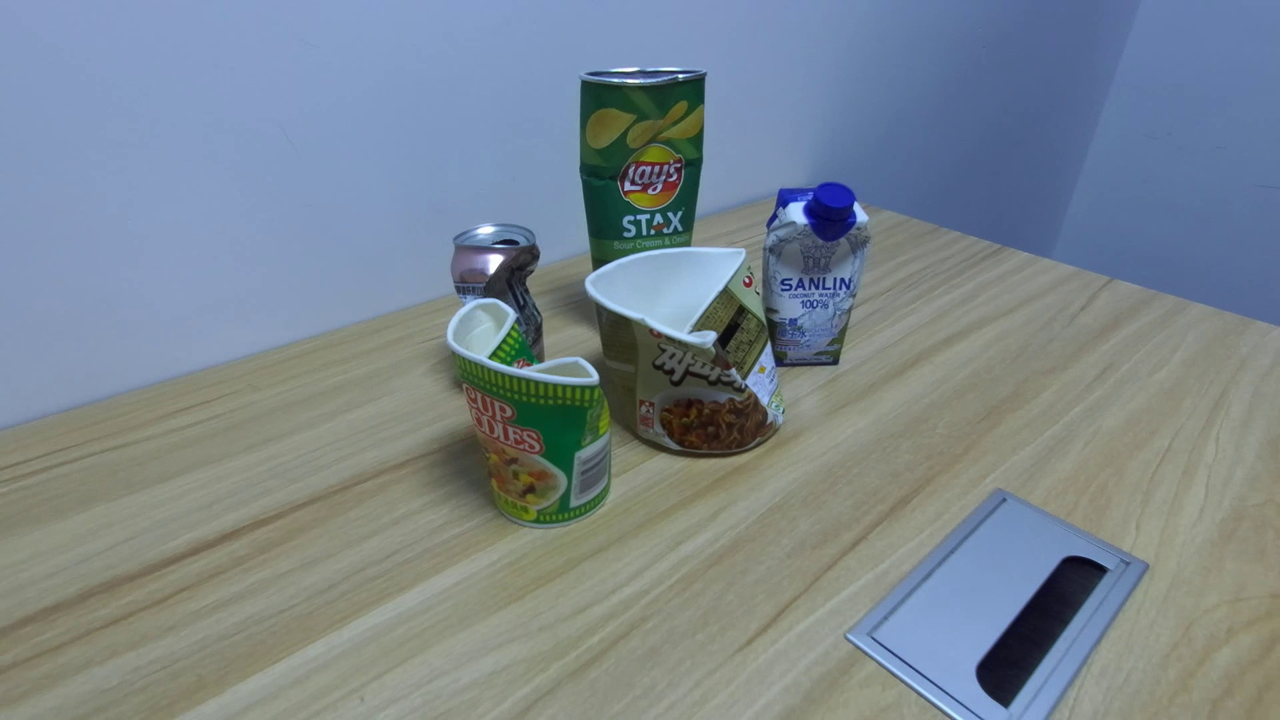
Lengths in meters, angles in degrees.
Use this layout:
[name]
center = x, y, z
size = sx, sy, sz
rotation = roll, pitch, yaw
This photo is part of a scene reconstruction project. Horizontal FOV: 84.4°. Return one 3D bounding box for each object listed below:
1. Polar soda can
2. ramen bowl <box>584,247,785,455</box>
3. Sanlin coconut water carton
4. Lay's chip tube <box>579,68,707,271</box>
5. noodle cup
[Polar soda can]
center = -0.100, -0.038, 0.500
size = 0.070, 0.114, 0.074
rotation = -12, 38, -27
[ramen bowl]
center = 0.035, -0.010, 0.467
size = 0.137, 0.098, 0.137
rotation = 2, 30, -1
[Sanlin coconut water carton]
center = 0.126, -0.065, 0.523
size = 0.078, 0.142, 0.057
rotation = -3, 36, -8
[Lay's chip tube]
center = 0.002, -0.112, 0.538
size = 0.068, 0.199, 0.075
rotation = 17, 34, 25
[noodle cup]
center = -0.054, 0.028, 0.387
size = 0.075, 0.122, 0.082
rotation = -8, 42, -2
